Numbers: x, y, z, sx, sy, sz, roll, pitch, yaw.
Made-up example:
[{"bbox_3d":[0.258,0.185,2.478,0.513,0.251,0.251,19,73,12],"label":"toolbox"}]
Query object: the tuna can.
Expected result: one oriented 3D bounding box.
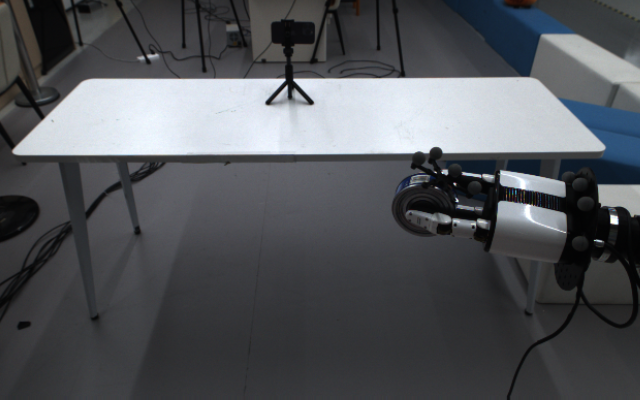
[{"bbox_3d":[0.143,0.005,0.654,0.085,0.085,0.034,12,35,14],"label":"tuna can"}]
